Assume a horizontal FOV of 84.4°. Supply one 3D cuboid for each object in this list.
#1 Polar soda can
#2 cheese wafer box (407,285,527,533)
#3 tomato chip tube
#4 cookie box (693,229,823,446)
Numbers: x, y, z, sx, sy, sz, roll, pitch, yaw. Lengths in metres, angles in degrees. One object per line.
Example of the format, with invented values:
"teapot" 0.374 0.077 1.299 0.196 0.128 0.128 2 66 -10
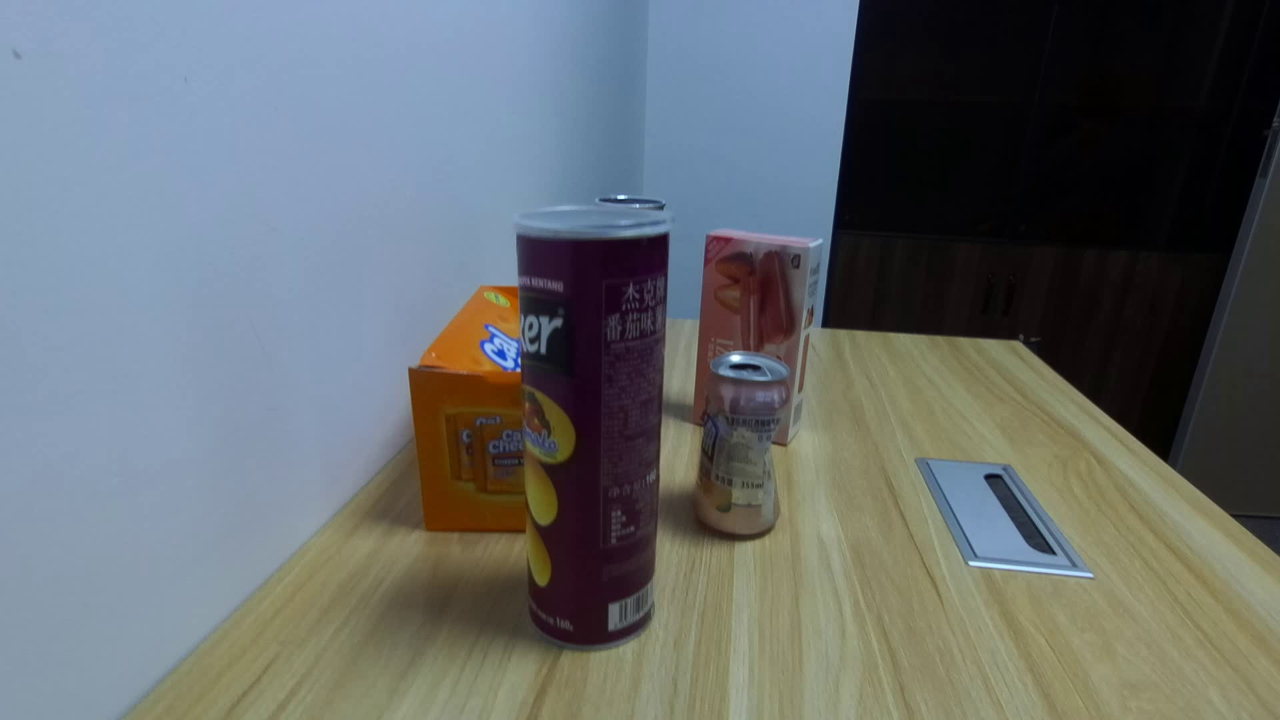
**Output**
"Polar soda can" 0.074 0.061 0.508 0.067 0.122 0.074 18 25 40
"cheese wafer box" -0.078 0.031 0.578 0.152 0.132 0.230 3 18 -1
"tomato chip tube" -0.025 0.040 0.386 0.078 0.234 0.078 2 20 0
"cookie box" 0.106 -0.022 0.648 0.096 0.184 0.048 11 20 25
